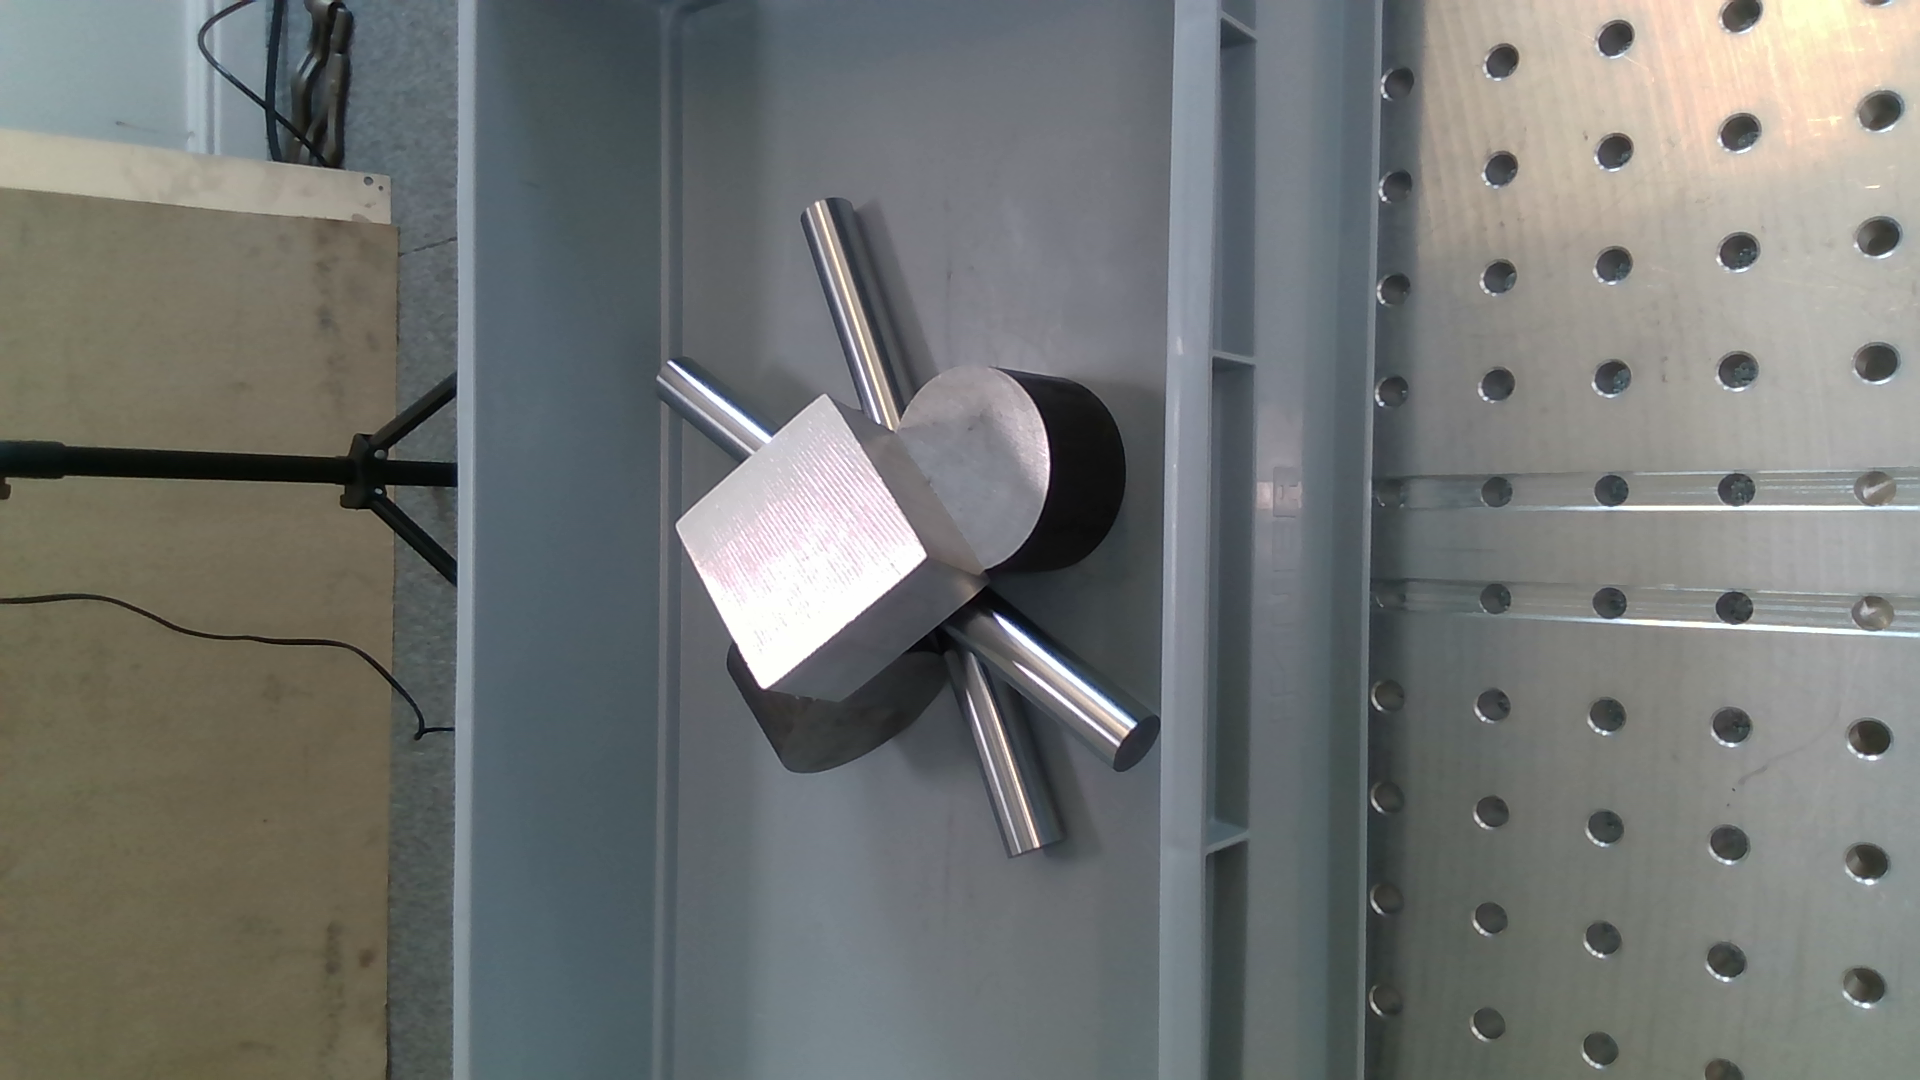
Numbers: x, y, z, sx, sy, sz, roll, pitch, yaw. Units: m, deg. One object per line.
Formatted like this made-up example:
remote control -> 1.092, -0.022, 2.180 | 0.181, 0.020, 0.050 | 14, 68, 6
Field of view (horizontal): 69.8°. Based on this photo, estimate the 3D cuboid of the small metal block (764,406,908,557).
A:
small metal block -> -0.057, -0.026, 0.629 | 0.050, 0.025, 0.050 | -35, 69, 35

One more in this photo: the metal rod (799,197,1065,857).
metal rod -> -0.016, -0.013, 0.594 | 0.025, 0.025, 0.299 | -30, 72, 36

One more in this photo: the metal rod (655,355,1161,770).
metal rod -> -0.036, -0.002, 0.579 | 0.299, 0.025, 0.025 | 37, 113, 33

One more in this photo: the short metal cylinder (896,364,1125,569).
short metal cylinder -> 0.018, -0.028, 0.549 | 0.080, 0.050, 0.080 | 0, 91, 40

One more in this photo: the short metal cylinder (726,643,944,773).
short metal cylinder -> -0.053, 0.055, 0.591 | 0.080, 0.080, 0.050 | -51, 59, 28

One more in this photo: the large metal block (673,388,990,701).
large metal block -> -0.049, 0.004, 0.524 | 0.080, 0.050, 0.080 | -39, 64, 15
